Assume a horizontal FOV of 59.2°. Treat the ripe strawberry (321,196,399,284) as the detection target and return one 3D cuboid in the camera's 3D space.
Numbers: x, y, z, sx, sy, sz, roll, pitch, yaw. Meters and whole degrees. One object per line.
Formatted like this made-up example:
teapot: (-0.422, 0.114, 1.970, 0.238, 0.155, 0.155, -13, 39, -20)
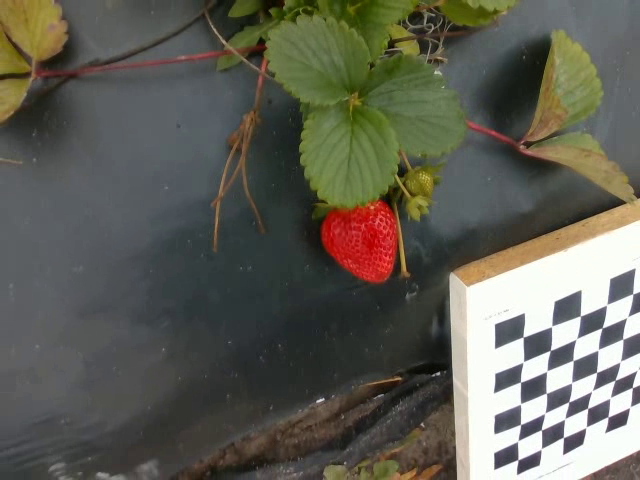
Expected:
ripe strawberry: (0.008, 0.001, 0.095, 0.018, 0.017, 0.014, -20, -9, -24)
